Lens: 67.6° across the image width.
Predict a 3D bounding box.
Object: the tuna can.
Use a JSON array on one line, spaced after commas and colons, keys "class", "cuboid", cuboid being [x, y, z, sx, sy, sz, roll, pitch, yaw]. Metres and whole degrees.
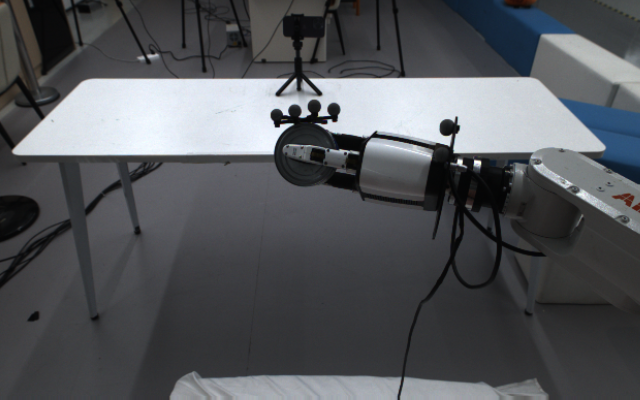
[{"class": "tuna can", "cuboid": [-0.015, -0.056, 0.654, 0.085, 0.085, 0.034, 10, 3, 11]}]
